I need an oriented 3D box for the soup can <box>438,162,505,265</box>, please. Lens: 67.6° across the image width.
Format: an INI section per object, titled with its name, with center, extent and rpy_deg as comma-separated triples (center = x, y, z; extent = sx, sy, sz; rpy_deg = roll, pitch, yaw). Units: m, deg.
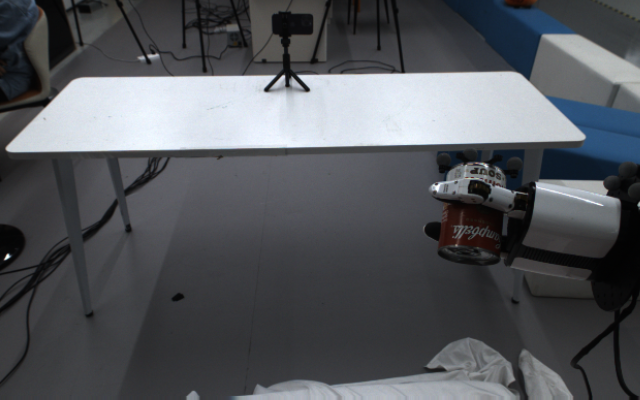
[soup can]
center = 0.175, 0.016, 0.549
extent = 0.067, 0.067, 0.101
rpy_deg = 9, 70, 10
